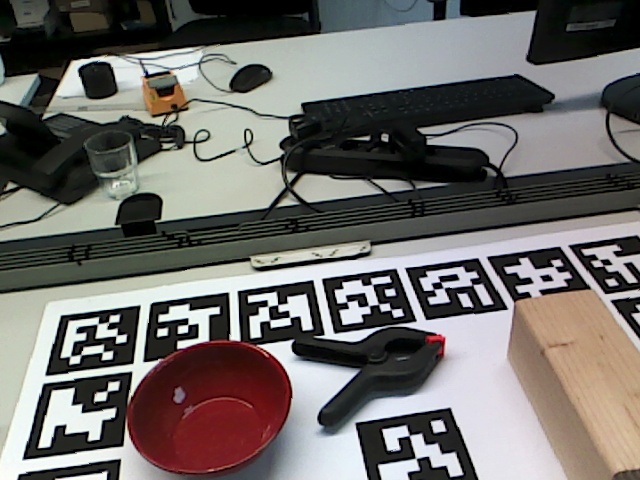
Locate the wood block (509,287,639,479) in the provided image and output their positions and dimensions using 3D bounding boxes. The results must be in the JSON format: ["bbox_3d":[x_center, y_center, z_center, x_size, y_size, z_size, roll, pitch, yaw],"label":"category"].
[{"bbox_3d":[0.266,0.150,0.590,0.090,0.090,0.207,-6,37,-3],"label":"wood block"}]

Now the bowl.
[{"bbox_3d":[-0.108,0.179,0.634,0.162,0.055,0.162,-2,40,1],"label":"bowl"}]

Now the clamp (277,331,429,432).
[{"bbox_3d":[0.046,0.141,0.685,0.164,0.036,0.122,-13,38,-14],"label":"clamp"}]
